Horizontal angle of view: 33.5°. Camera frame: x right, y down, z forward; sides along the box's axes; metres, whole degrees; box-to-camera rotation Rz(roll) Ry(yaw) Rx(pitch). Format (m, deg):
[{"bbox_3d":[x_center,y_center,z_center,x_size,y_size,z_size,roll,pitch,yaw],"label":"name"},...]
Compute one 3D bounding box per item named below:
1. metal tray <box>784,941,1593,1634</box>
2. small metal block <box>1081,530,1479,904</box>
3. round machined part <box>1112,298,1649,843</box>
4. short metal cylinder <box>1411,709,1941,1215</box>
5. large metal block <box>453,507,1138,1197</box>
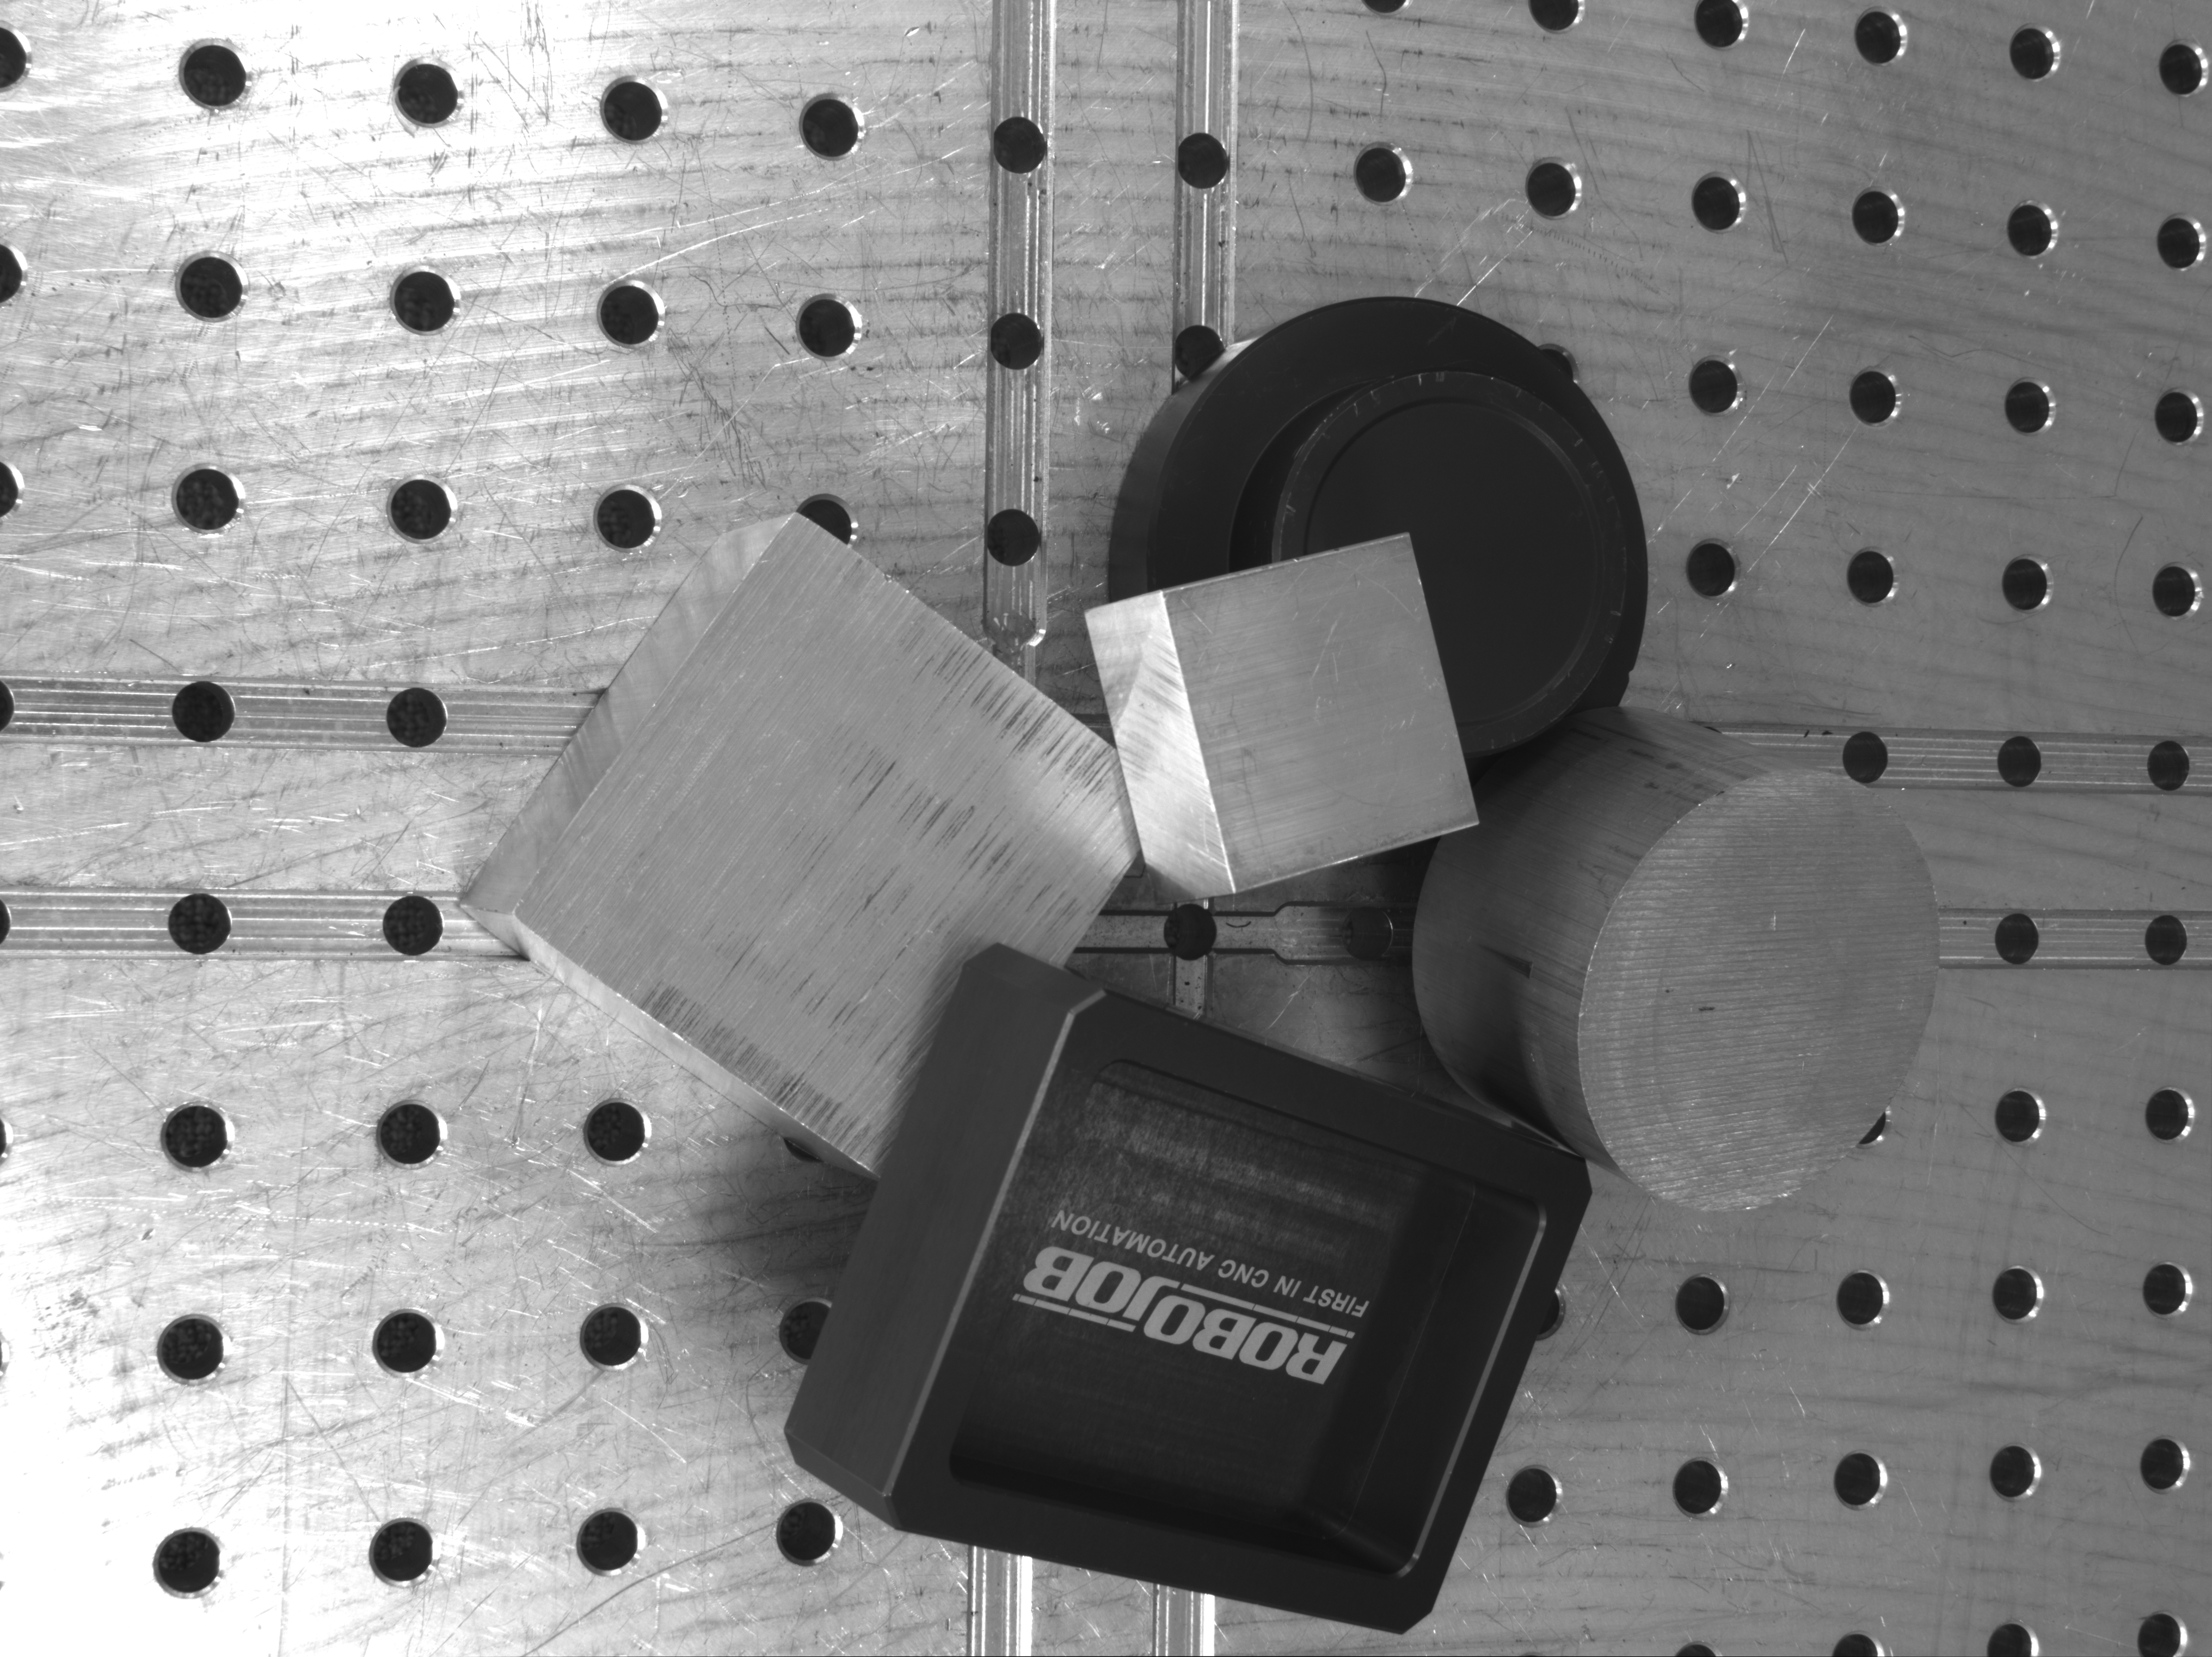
[{"bbox_3d":[0.017,0.080,0.619,0.130,0.030,0.090,22,89,-41],"label":"metal tray"},{"bbox_3d":[0.029,-0.018,0.607,0.050,0.025,0.050,-15,92,-30],"label":"small metal block"},{"bbox_3d":[0.054,-0.046,0.656,0.098,0.042,0.098,0,90,-20],"label":"round machined part"},{"bbox_3d":[0.102,0.023,0.658,0.080,0.050,0.080,-9,108,-29],"label":"short metal cylinder"},{"bbox_3d":[-0.049,0.004,0.615,0.080,0.050,0.080,37,78,-16],"label":"large metal block"}]
